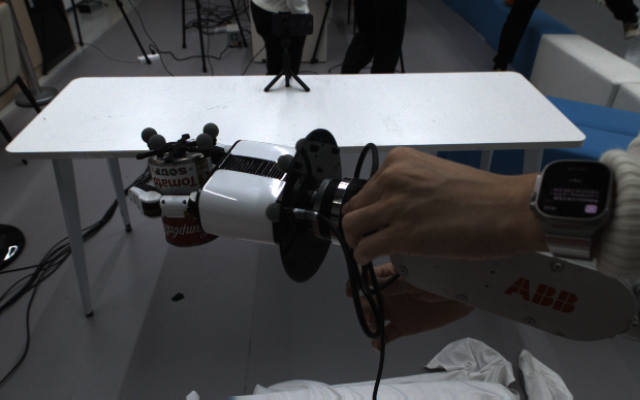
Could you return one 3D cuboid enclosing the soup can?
[{"bbox_3d":[-0.149,-0.006,0.549,0.067,0.101,0.067,-4,25,2],"label":"soup can"}]
